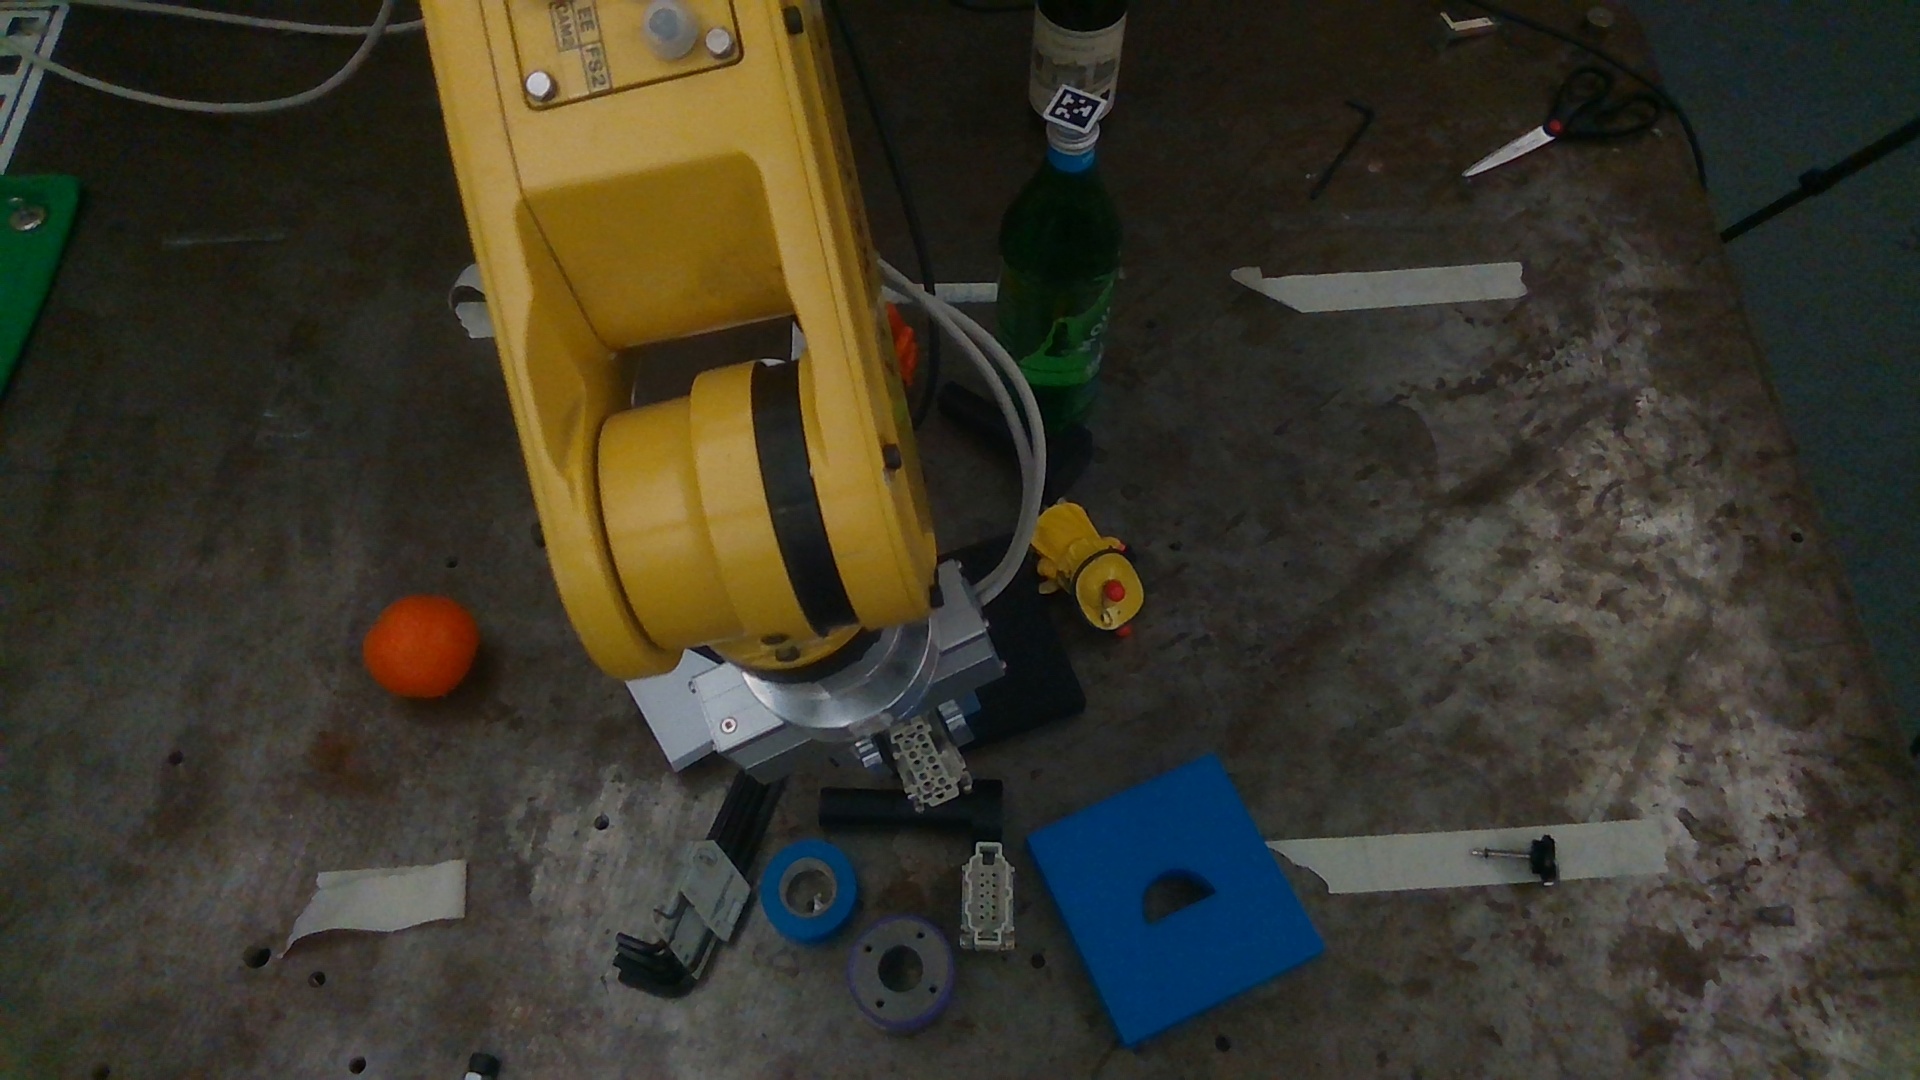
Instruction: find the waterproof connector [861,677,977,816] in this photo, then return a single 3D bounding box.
[{"bbox_3d":[-0.021,0.104,0.709,0.037,0.039,0.069,-29,101,-5],"label":"waterproof connector"}]
